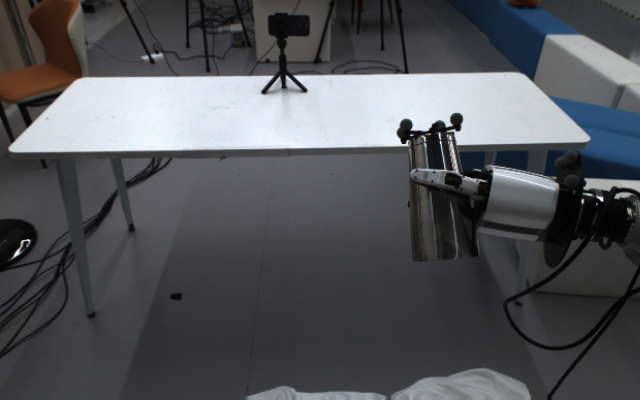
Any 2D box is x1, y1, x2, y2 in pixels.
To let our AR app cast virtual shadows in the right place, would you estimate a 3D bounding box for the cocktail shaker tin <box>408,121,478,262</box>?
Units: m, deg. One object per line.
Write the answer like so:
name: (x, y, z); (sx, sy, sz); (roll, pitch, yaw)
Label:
cocktail shaker tin: (0.166, -0.003, 0.675); (0.093, 0.170, 0.093); (-6, -7, -1)
